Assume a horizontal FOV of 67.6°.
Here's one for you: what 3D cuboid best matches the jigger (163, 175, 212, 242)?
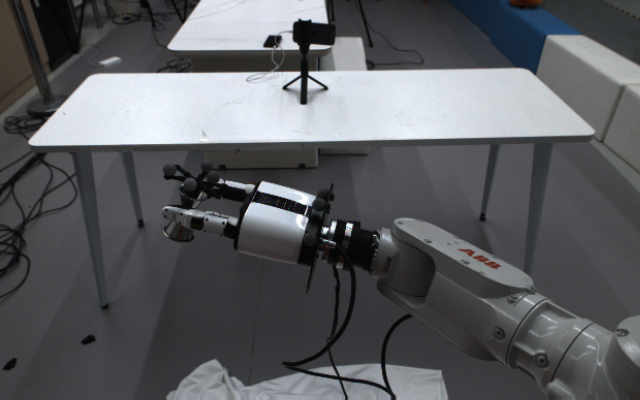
[{"bbox_3d":[-0.186,0.019,0.668,0.043,0.071,0.043,22,20,-9],"label":"jigger"}]
